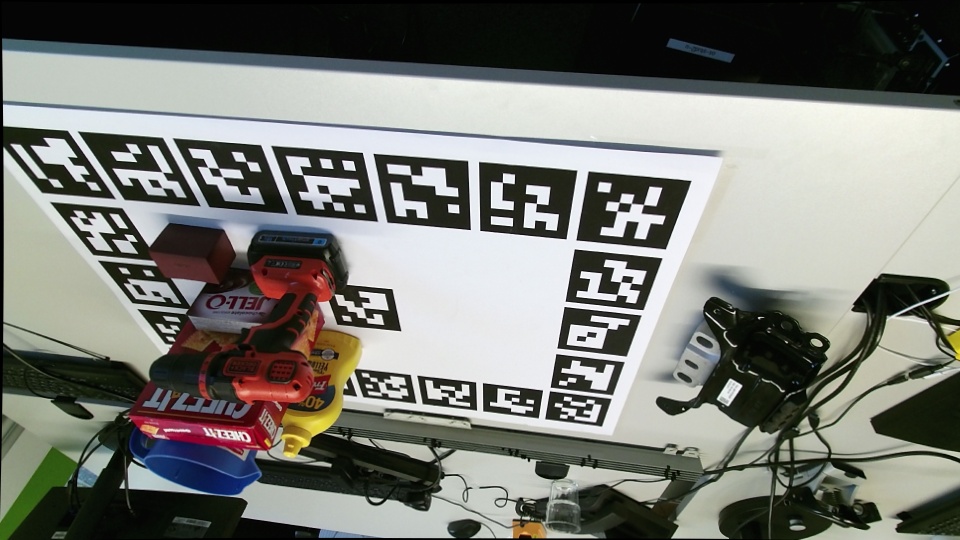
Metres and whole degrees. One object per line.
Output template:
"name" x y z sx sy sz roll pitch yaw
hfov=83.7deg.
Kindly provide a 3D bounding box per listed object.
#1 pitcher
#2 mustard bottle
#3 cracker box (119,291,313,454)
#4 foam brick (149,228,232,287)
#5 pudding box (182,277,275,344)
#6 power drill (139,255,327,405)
"pitcher" -0.388 0.198 0.792 0.189 0.241 0.133 8 136 -1
"mustard bottle" -0.254 0.202 0.789 0.096 0.190 0.058 14 135 -5
"cracker box" -0.340 0.127 0.719 0.165 0.212 0.072 2 137 4
"foam brick" -0.378 -0.017 0.702 0.078 0.051 0.053 7 134 3
"pudding box" -0.325 0.056 0.720 0.114 0.089 0.039 4 137 2
"power drill" -0.272 0.067 0.623 0.185 0.186 0.057 5 139 6
